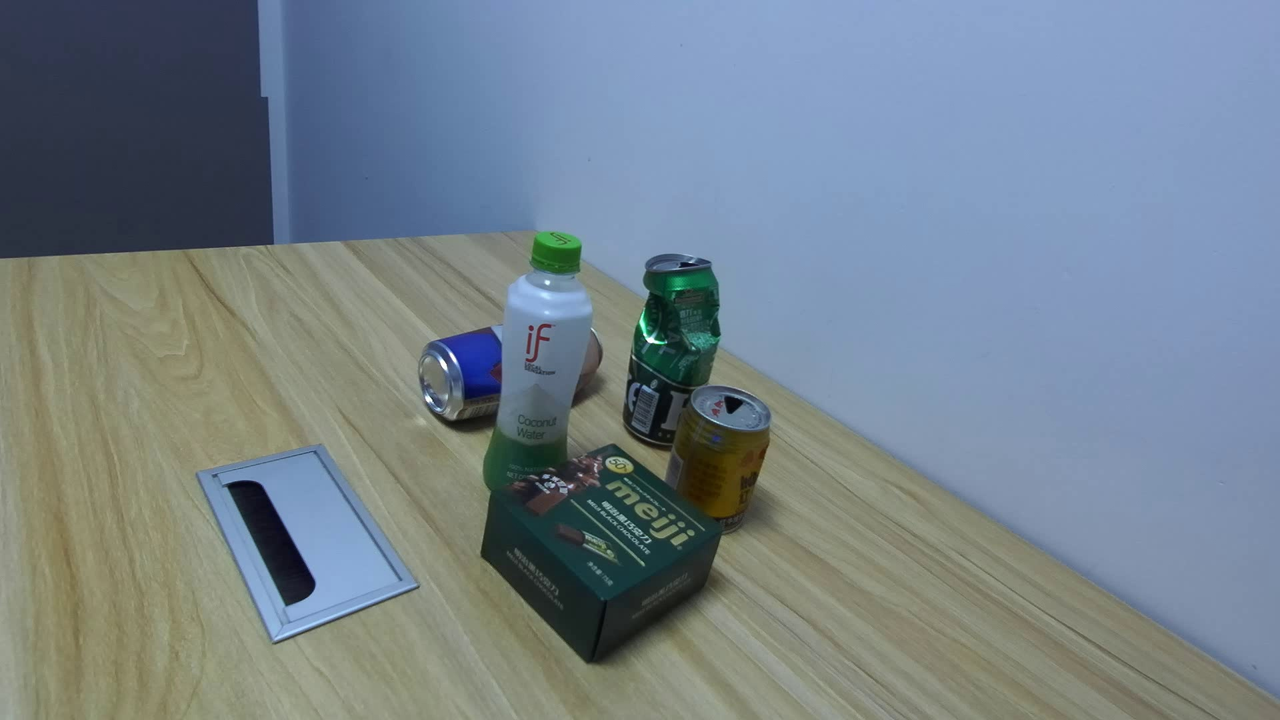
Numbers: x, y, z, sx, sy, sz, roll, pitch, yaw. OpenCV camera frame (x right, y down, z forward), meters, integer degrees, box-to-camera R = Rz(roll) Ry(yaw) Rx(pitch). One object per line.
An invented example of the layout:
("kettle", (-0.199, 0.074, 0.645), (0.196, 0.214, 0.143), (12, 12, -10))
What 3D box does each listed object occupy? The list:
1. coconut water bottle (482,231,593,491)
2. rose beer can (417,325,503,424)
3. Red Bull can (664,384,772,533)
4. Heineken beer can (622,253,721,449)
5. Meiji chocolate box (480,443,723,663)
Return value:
("coconut water bottle", (-0.069, 0.006, 0.490), (0.063, 0.188, 0.063), (10, 26, -5))
("rose beer can", (-0.108, 0.002, 0.621), (0.069, 0.069, 0.169), (3, 15, 44))
("Red Bull can", (0.056, 0.073, 0.521), (0.069, 0.092, 0.069), (11, 25, -5))
("Heineken beer can", (0.031, -0.006, 0.597), (0.078, 0.159, 0.067), (14, 19, 22))
("Meiji chocolate box", (-0.024, 0.116, 0.452), (0.109, 0.056, 0.109), (33, 33, 34))
